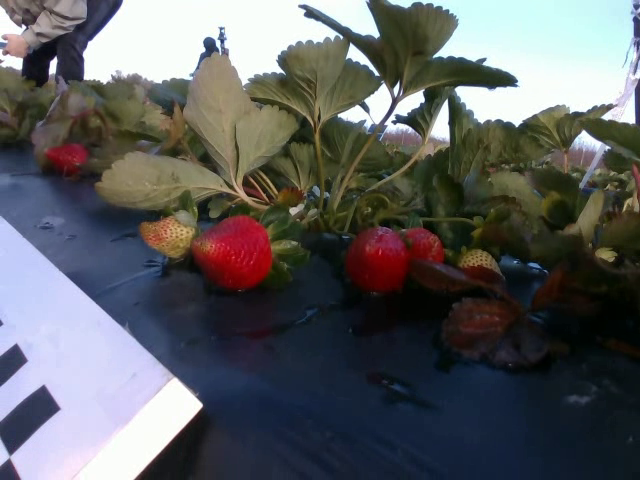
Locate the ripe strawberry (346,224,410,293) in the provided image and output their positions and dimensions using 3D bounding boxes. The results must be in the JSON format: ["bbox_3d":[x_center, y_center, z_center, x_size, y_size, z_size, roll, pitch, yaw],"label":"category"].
[{"bbox_3d":[0.029,0.011,0.343,0.044,0.042,0.055,-30,-17,2],"label":"ripe strawberry"}]

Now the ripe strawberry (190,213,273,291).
[{"bbox_3d":[-0.056,0.003,0.347,0.050,0.050,0.065,-17,-19,22],"label":"ripe strawberry"}]
